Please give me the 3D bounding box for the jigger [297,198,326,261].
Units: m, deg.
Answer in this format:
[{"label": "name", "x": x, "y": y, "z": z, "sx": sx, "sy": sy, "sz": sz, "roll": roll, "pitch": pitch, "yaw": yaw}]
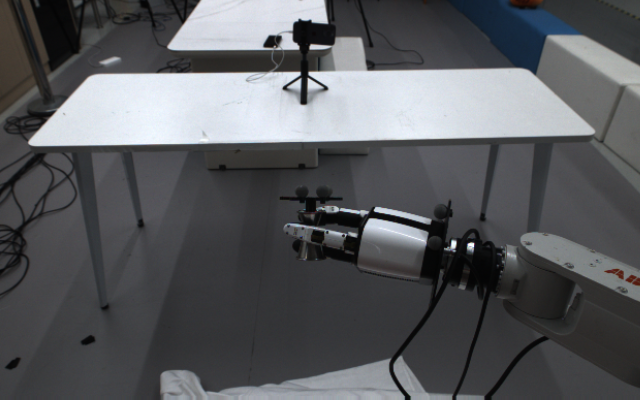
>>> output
[{"label": "jigger", "x": -0.012, "y": 0.048, "z": 0.687, "sx": 0.043, "sy": 0.071, "sz": 0.043, "roll": -1, "pitch": 2, "yaw": 0}]
